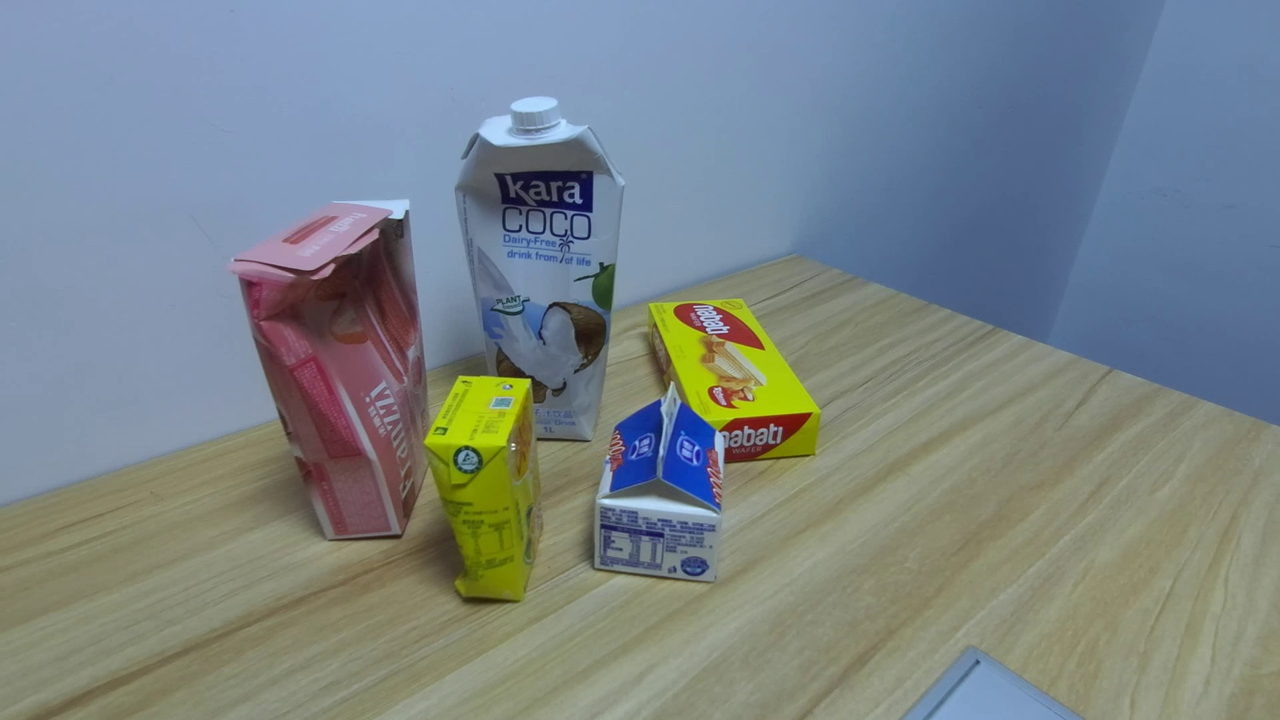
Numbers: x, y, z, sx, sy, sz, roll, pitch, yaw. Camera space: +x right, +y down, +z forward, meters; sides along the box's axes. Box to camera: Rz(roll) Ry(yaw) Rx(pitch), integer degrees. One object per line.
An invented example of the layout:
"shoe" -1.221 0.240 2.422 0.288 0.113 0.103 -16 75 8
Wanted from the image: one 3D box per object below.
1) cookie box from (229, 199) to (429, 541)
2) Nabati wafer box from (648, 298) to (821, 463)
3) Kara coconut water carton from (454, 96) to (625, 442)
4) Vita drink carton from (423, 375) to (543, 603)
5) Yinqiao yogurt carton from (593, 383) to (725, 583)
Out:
"cookie box" -0.166 0.009 0.420 0.055 0.184 0.118 3 30 1
"Nabati wafer box" 0.068 0.009 0.583 0.093 0.042 0.202 -3 29 -9
"Kara coconut water carton" -0.067 -0.057 0.491 0.115 0.238 0.069 2 30 2
"Vita drink carton" -0.083 0.073 0.389 0.043 0.109 0.076 2 29 3
"Yinqiao yogurt carton" 0.014 0.069 0.417 0.073 0.092 0.075 5 30 5
